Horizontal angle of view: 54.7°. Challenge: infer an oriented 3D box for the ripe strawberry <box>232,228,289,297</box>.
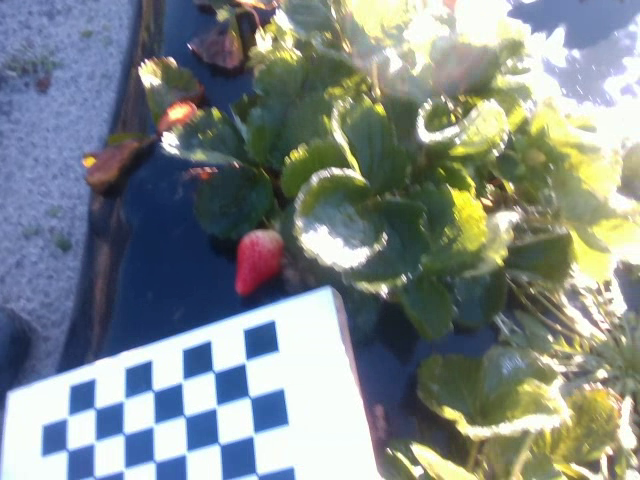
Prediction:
[{"bbox_3d":[-0.057,0.017,0.499,0.040,0.065,0.040,22,-14,29],"label":"ripe strawberry"}]
